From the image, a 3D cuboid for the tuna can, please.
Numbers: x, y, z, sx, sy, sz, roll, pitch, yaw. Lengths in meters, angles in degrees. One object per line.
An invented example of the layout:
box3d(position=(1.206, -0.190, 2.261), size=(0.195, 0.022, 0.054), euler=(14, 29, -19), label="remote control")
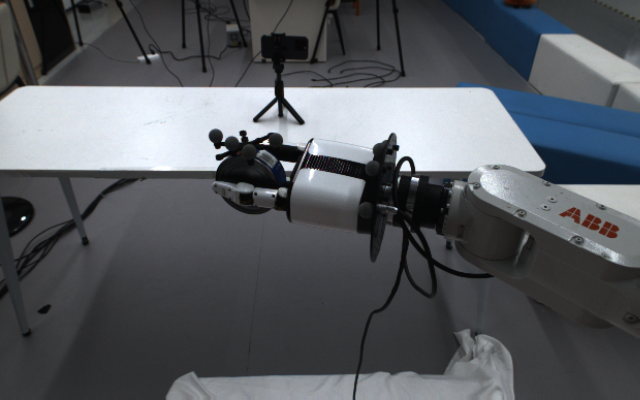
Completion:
box3d(position=(-0.087, -0.027, 0.621), size=(0.085, 0.085, 0.034), euler=(11, 34, 12), label="tuna can")
